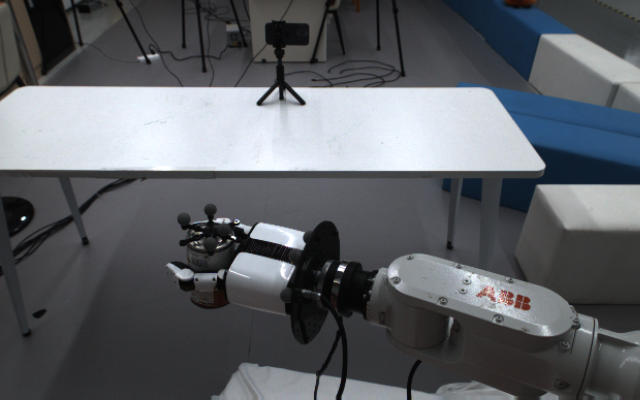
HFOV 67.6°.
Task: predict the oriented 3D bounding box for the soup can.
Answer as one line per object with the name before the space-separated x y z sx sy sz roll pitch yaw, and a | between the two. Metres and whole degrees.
soup can | -0.148 0.093 0.671 0.067 0.101 0.067 4 31 -2
